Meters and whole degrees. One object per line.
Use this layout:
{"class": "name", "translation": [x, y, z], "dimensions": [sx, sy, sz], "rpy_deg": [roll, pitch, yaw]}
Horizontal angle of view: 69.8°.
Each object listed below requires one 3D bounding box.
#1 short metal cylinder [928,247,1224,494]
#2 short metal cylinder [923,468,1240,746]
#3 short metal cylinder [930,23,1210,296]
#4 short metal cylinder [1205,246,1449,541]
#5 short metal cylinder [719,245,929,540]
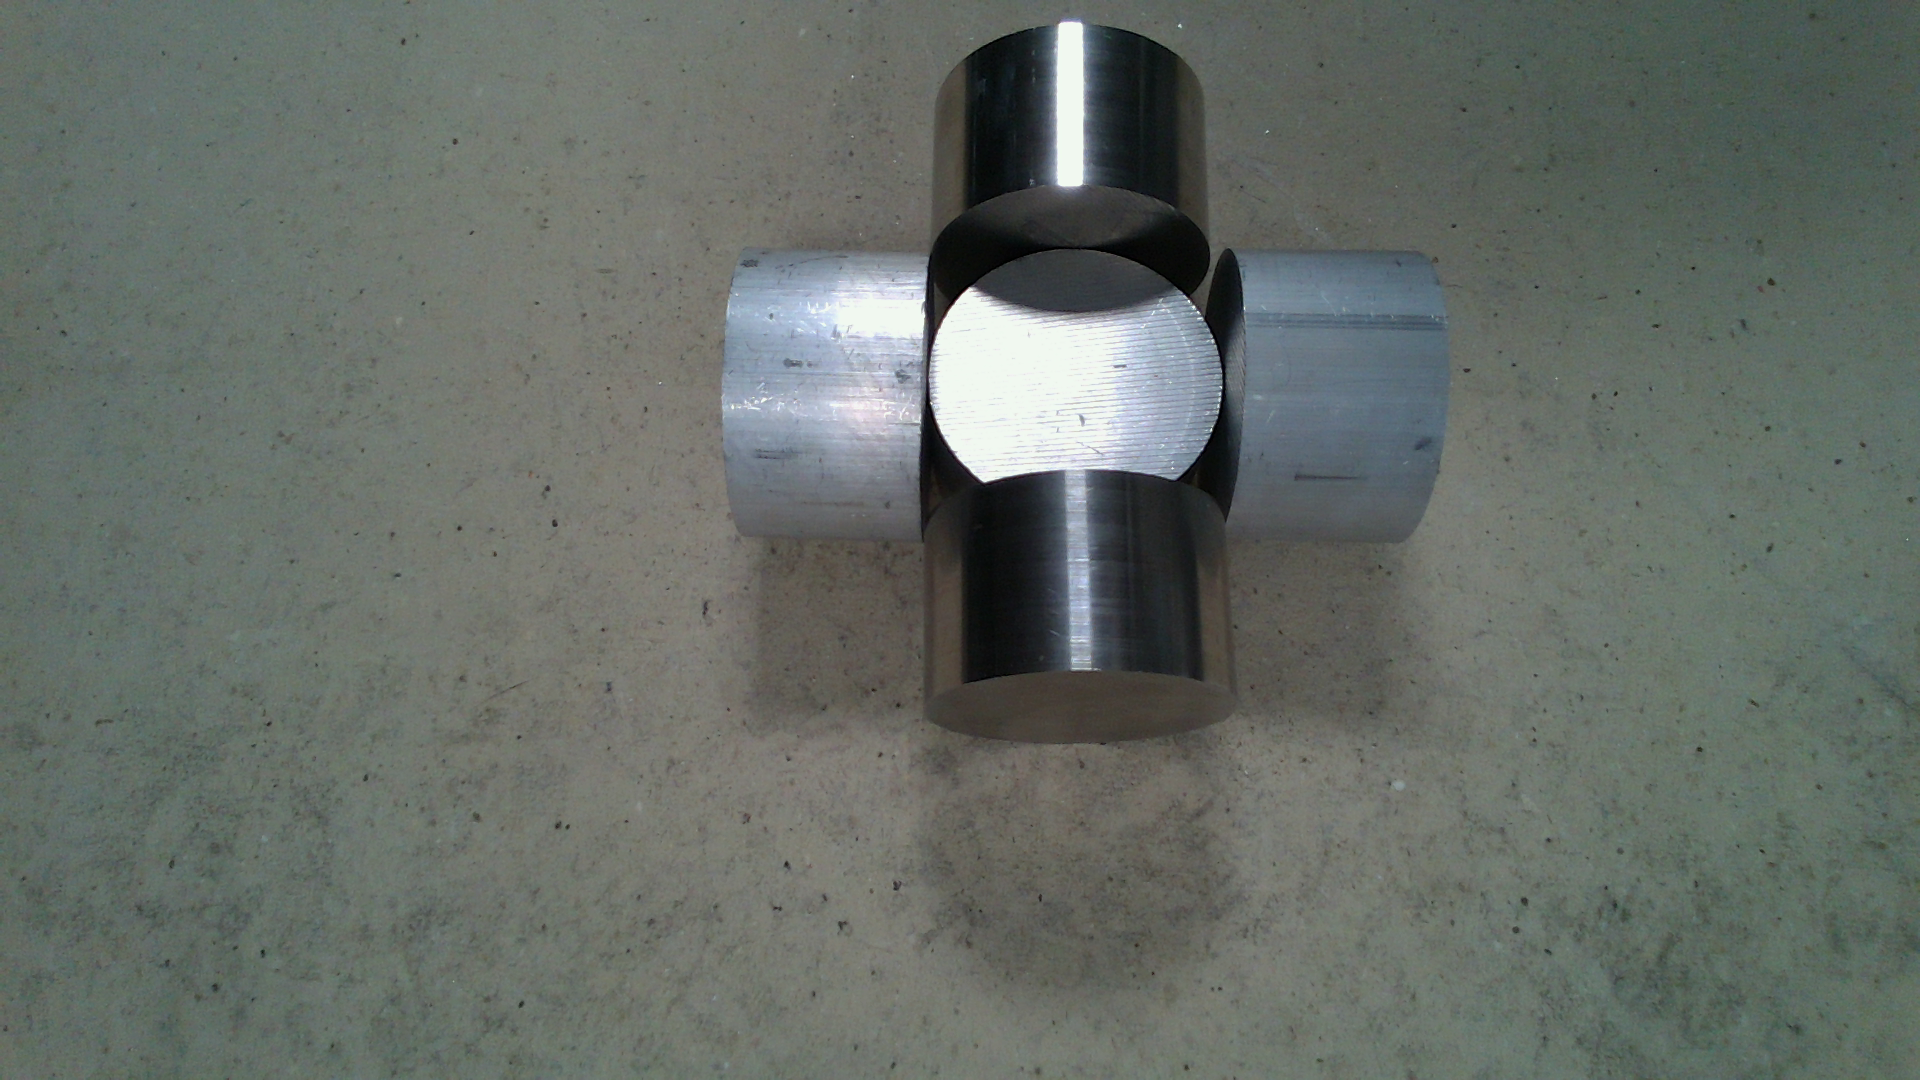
{"class": "short metal cylinder", "translation": [0.031, -0.036, 0.395], "dimensions": [0.080, 0.050, 0.080], "rpy_deg": [0, 70, 0]}
{"class": "short metal cylinder", "translation": [0.031, 0.020, 0.358], "dimensions": [0.080, 0.080, 0.050], "rpy_deg": [0, 69, 0]}
{"class": "short metal cylinder", "translation": [0.032, -0.103, 0.402], "dimensions": [0.080, 0.080, 0.050], "rpy_deg": [1, 70, 1]}
{"class": "short metal cylinder", "translation": [0.097, -0.040, 0.380], "dimensions": [0.050, 0.080, 0.080], "rpy_deg": [2, 70, 1]}
{"class": "short metal cylinder", "translation": [-0.034, -0.040, 0.380], "dimensions": [0.050, 0.080, 0.080], "rpy_deg": [2, 70, 1]}
